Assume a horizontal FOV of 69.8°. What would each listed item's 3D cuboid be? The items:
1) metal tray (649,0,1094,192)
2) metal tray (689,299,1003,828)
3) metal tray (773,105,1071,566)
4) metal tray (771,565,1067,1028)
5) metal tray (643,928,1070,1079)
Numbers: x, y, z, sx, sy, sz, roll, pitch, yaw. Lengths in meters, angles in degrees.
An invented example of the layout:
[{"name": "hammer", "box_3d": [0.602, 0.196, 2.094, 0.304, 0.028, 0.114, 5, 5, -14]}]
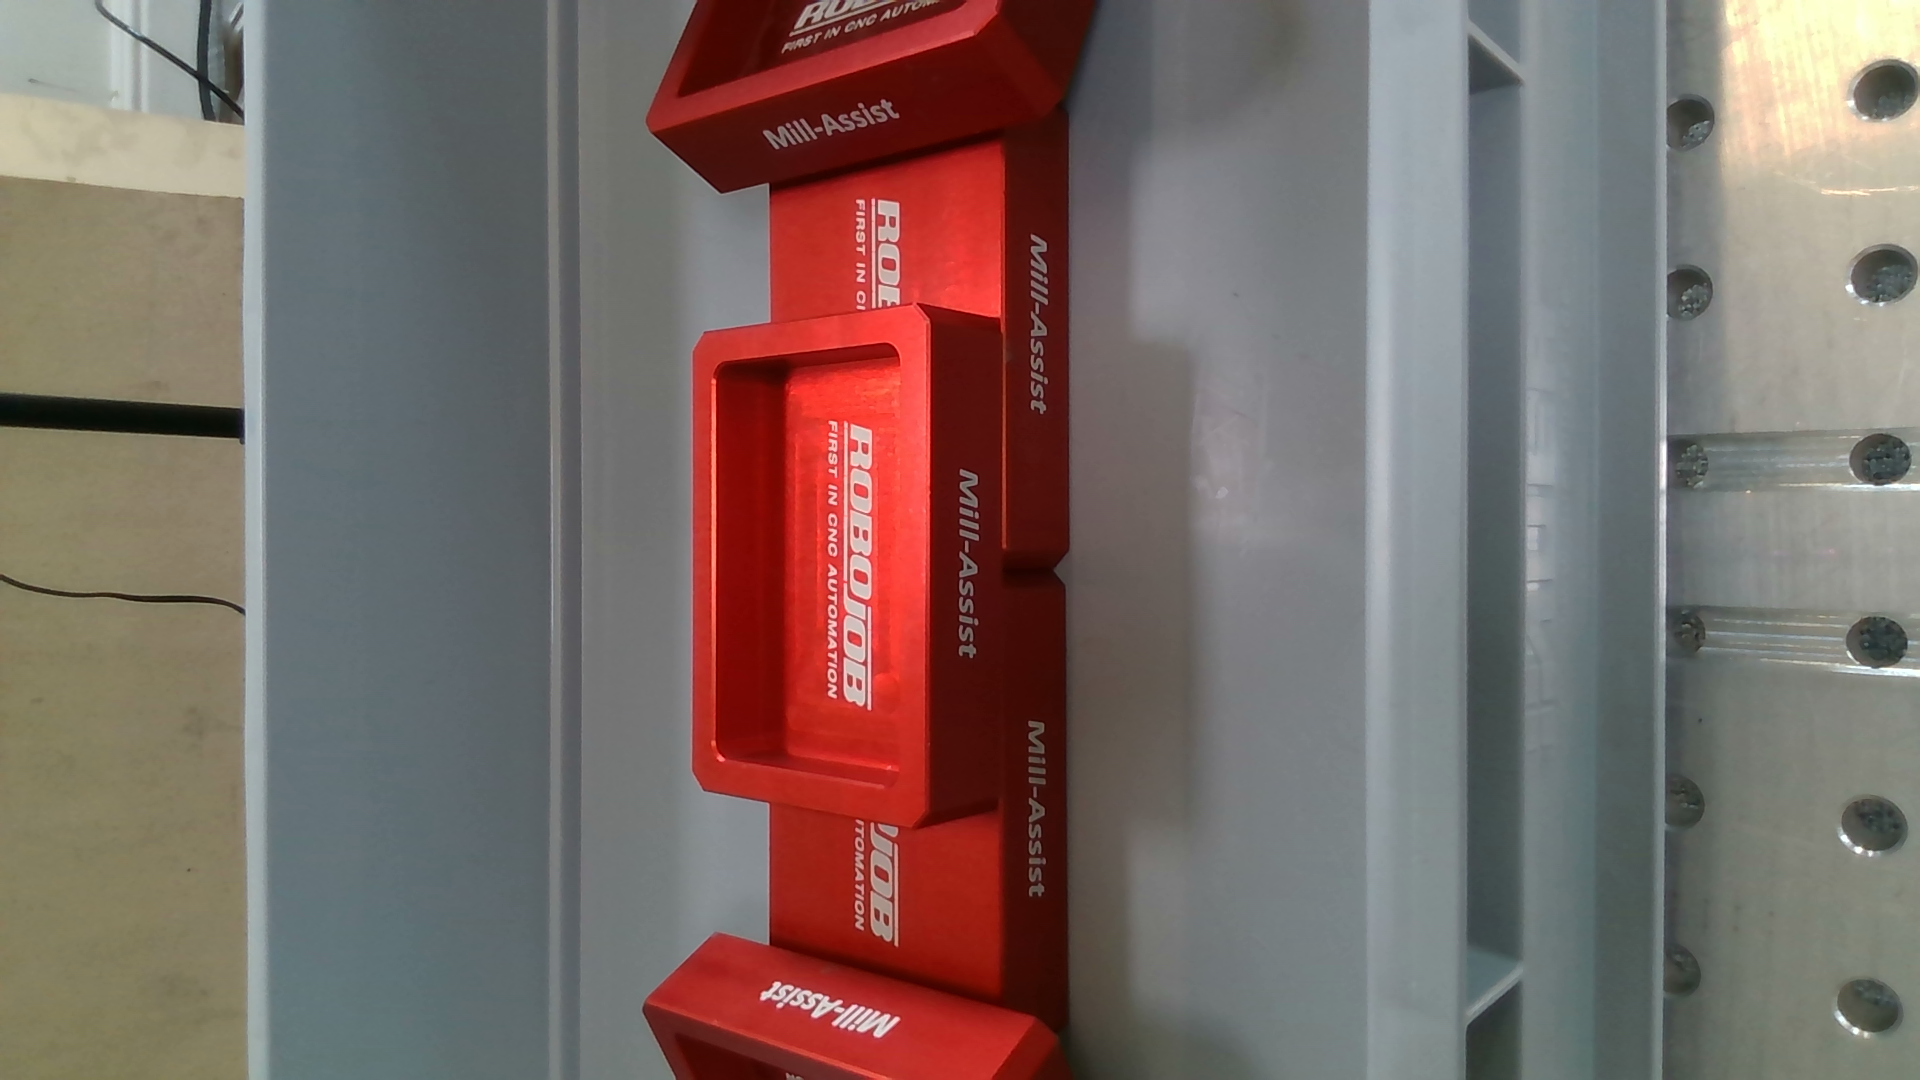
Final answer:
[{"name": "metal tray", "box_3d": [-0.021, -0.151, 0.379, 0.130, 0.030, 0.090, 1, 65, 40]}, {"name": "metal tray", "box_3d": [-0.033, 0.006, 0.374, 0.090, 0.030, 0.130, 1, 91, 39]}, {"name": "metal tray", "box_3d": [-0.013, -0.058, 0.398, 0.090, 0.030, 0.130, 0, 90, 40]}, {"name": "metal tray", "box_3d": [-0.014, 0.072, 0.399, 0.090, 0.030, 0.130, 0, 90, 40]}, {"name": "metal tray", "box_3d": [-0.023, 0.162, 0.382, 0.130, 0.030, 0.090, 0, 119, 40]}]
